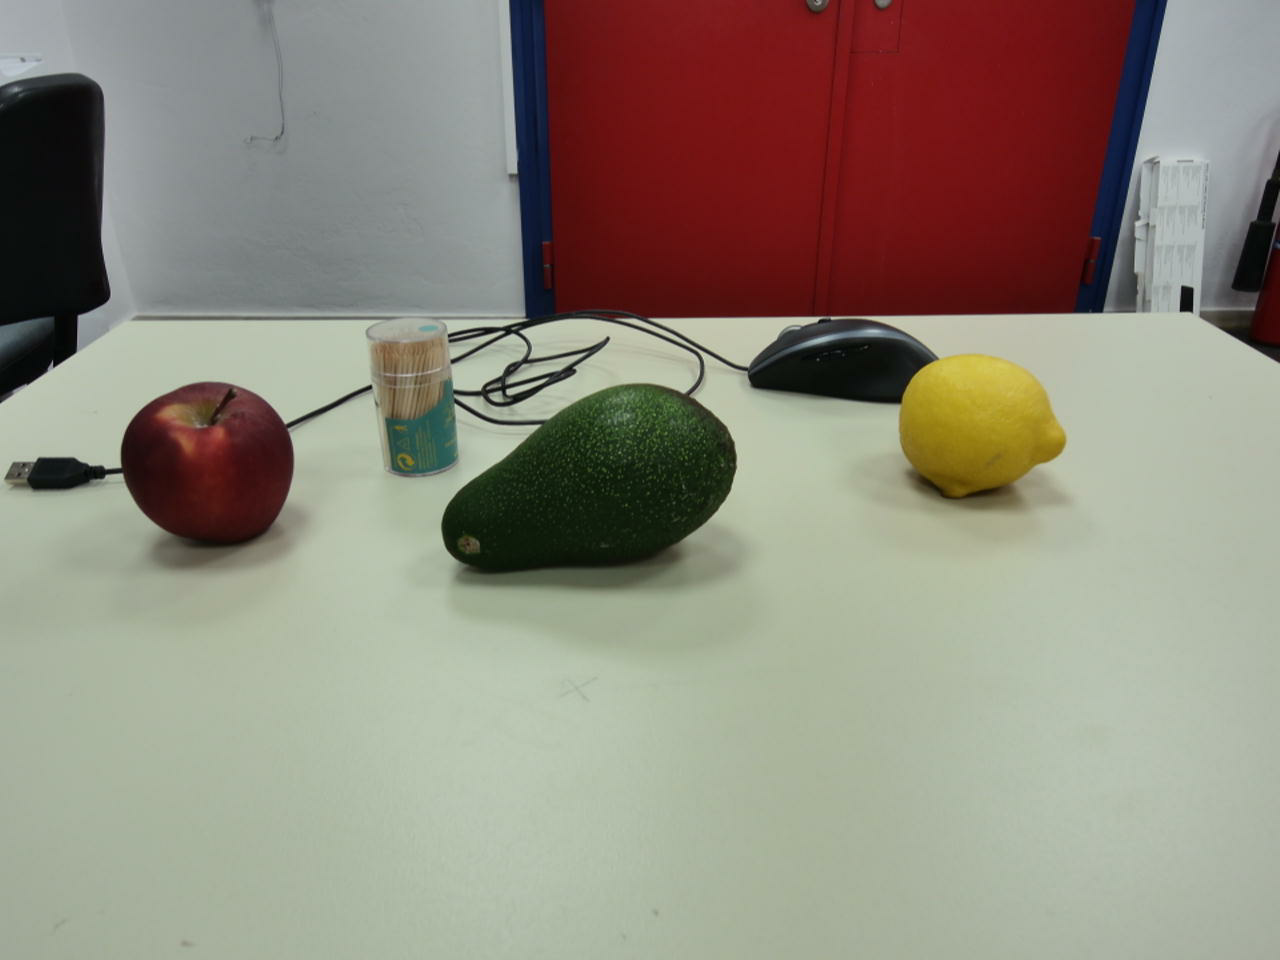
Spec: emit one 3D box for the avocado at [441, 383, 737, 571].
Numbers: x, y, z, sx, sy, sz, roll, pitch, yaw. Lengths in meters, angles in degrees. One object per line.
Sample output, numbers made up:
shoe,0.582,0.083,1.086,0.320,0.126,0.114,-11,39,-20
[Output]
avocado,-0.021,-0.003,0.429,0.123,0.076,0.074,2,24,5
